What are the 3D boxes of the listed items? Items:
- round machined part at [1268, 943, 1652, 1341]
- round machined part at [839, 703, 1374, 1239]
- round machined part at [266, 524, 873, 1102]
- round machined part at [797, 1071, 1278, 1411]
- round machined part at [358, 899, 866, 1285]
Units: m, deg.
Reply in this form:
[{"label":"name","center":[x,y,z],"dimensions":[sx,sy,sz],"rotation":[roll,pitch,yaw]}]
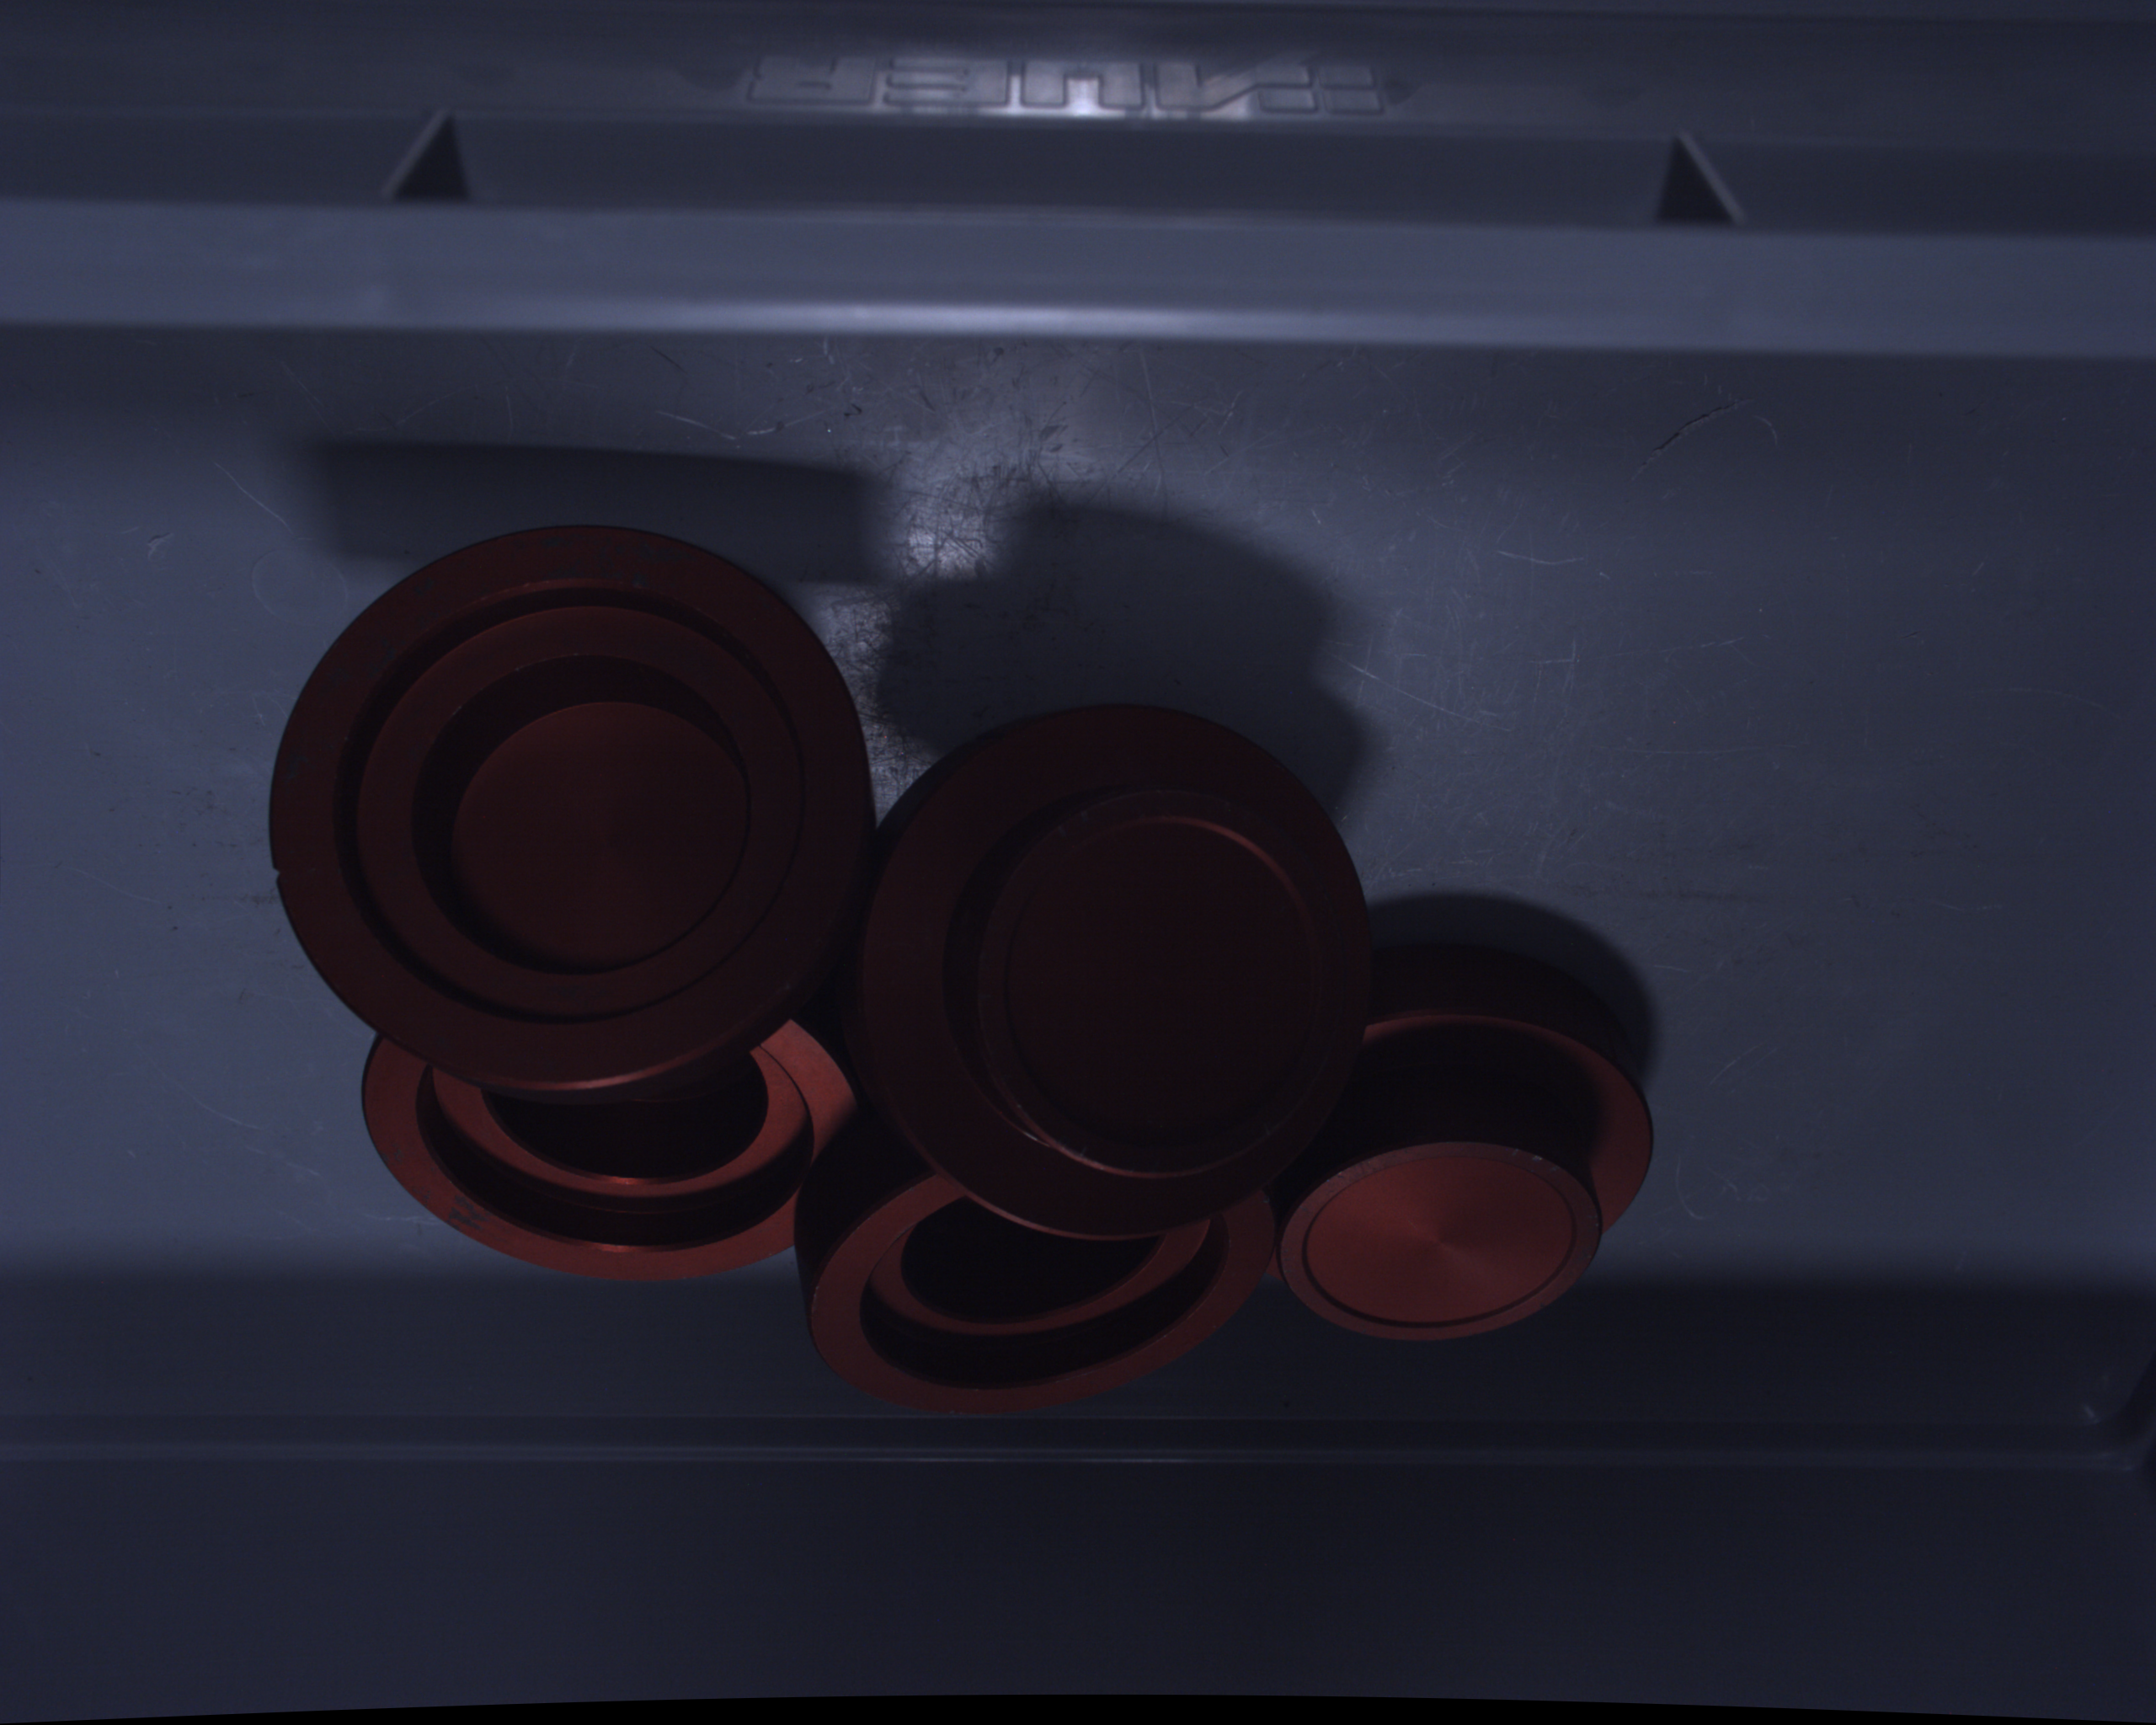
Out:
[{"label":"round machined part","center":[0.075,0.067,0.453],"dimensions":[0.099,0.042,0.097],"rotation":[-1,130,0]},{"label":"round machined part","center":[0.009,0.020,0.377],"dimensions":[0.099,0.042,0.097],"rotation":[0,91,-17]},{"label":"round machined part","center":[-0.085,-0.006,0.366],"dimensions":[0.099,0.098,0.042],"rotation":[2,166,-2]},{"label":"round machined part","center":[-0.011,0.072,0.442],"dimensions":[0.099,0.042,0.097],"rotation":[-10,137,-9]},{"label":"round machined part","center":[-0.092,0.040,0.427],"dimensions":[0.099,0.042,0.097],"rotation":[-1,130,0]}]
